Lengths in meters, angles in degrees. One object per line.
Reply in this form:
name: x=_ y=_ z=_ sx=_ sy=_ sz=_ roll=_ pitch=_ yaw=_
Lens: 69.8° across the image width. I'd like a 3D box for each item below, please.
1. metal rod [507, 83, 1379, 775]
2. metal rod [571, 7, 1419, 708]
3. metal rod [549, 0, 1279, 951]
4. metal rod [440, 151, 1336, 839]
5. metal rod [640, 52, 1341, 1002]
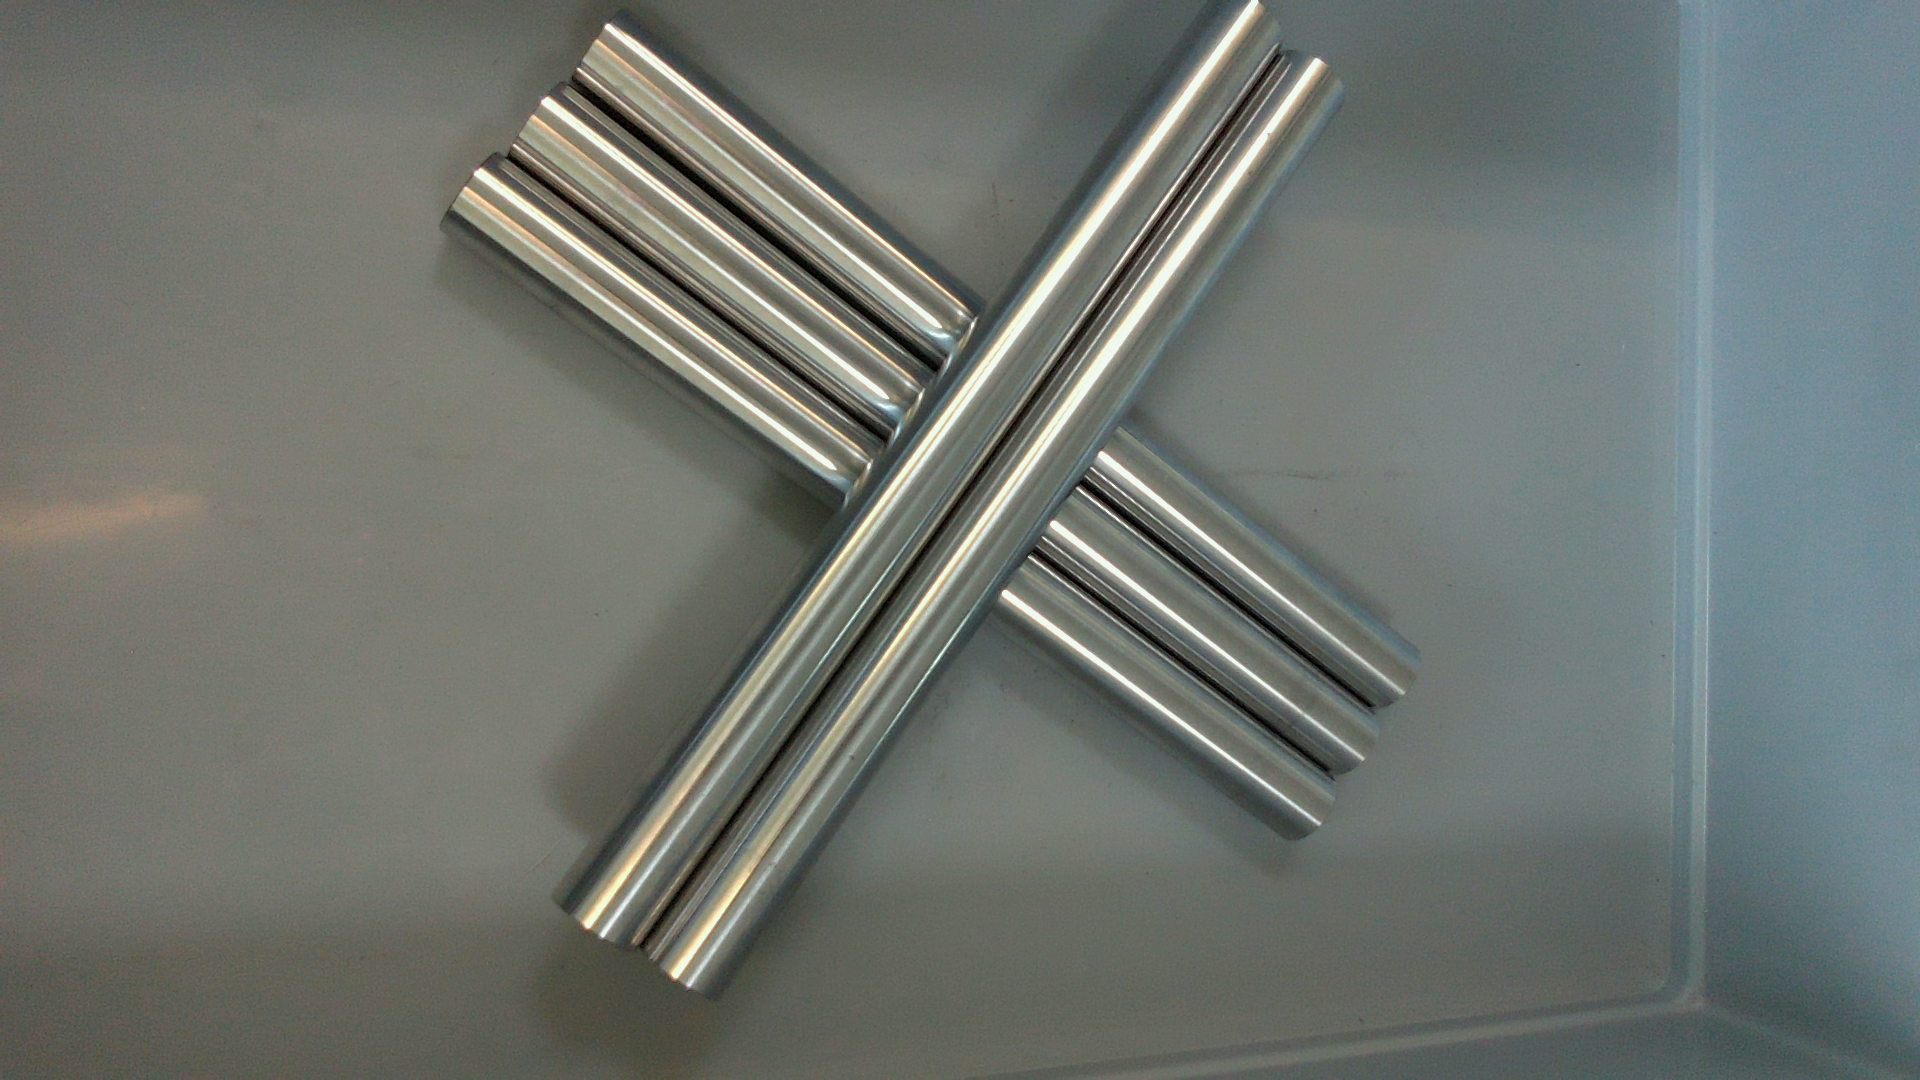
metal rod: x=0.007 y=-0.021 z=0.395 sx=0.301 sy=0.025 sz=0.025 roll=36 pitch=78 yaw=-16
metal rod: x=0.022 y=-0.042 z=0.400 sx=0.301 sy=0.025 sz=0.025 roll=37 pitch=78 yaw=-16
metal rod: x=-0.004 y=-0.028 z=0.364 sx=0.025 sy=0.025 sz=0.300 roll=39 pitch=78 yaw=-16
metal rod: x=-0.008 y=-0.002 z=0.389 sx=0.301 sy=0.025 sz=0.025 roll=36 pitch=78 yaw=-16
metal rod: x=0.015 y=-0.013 z=0.371 sx=0.025 sy=0.025 sz=0.300 roll=39 pitch=78 yaw=-16
